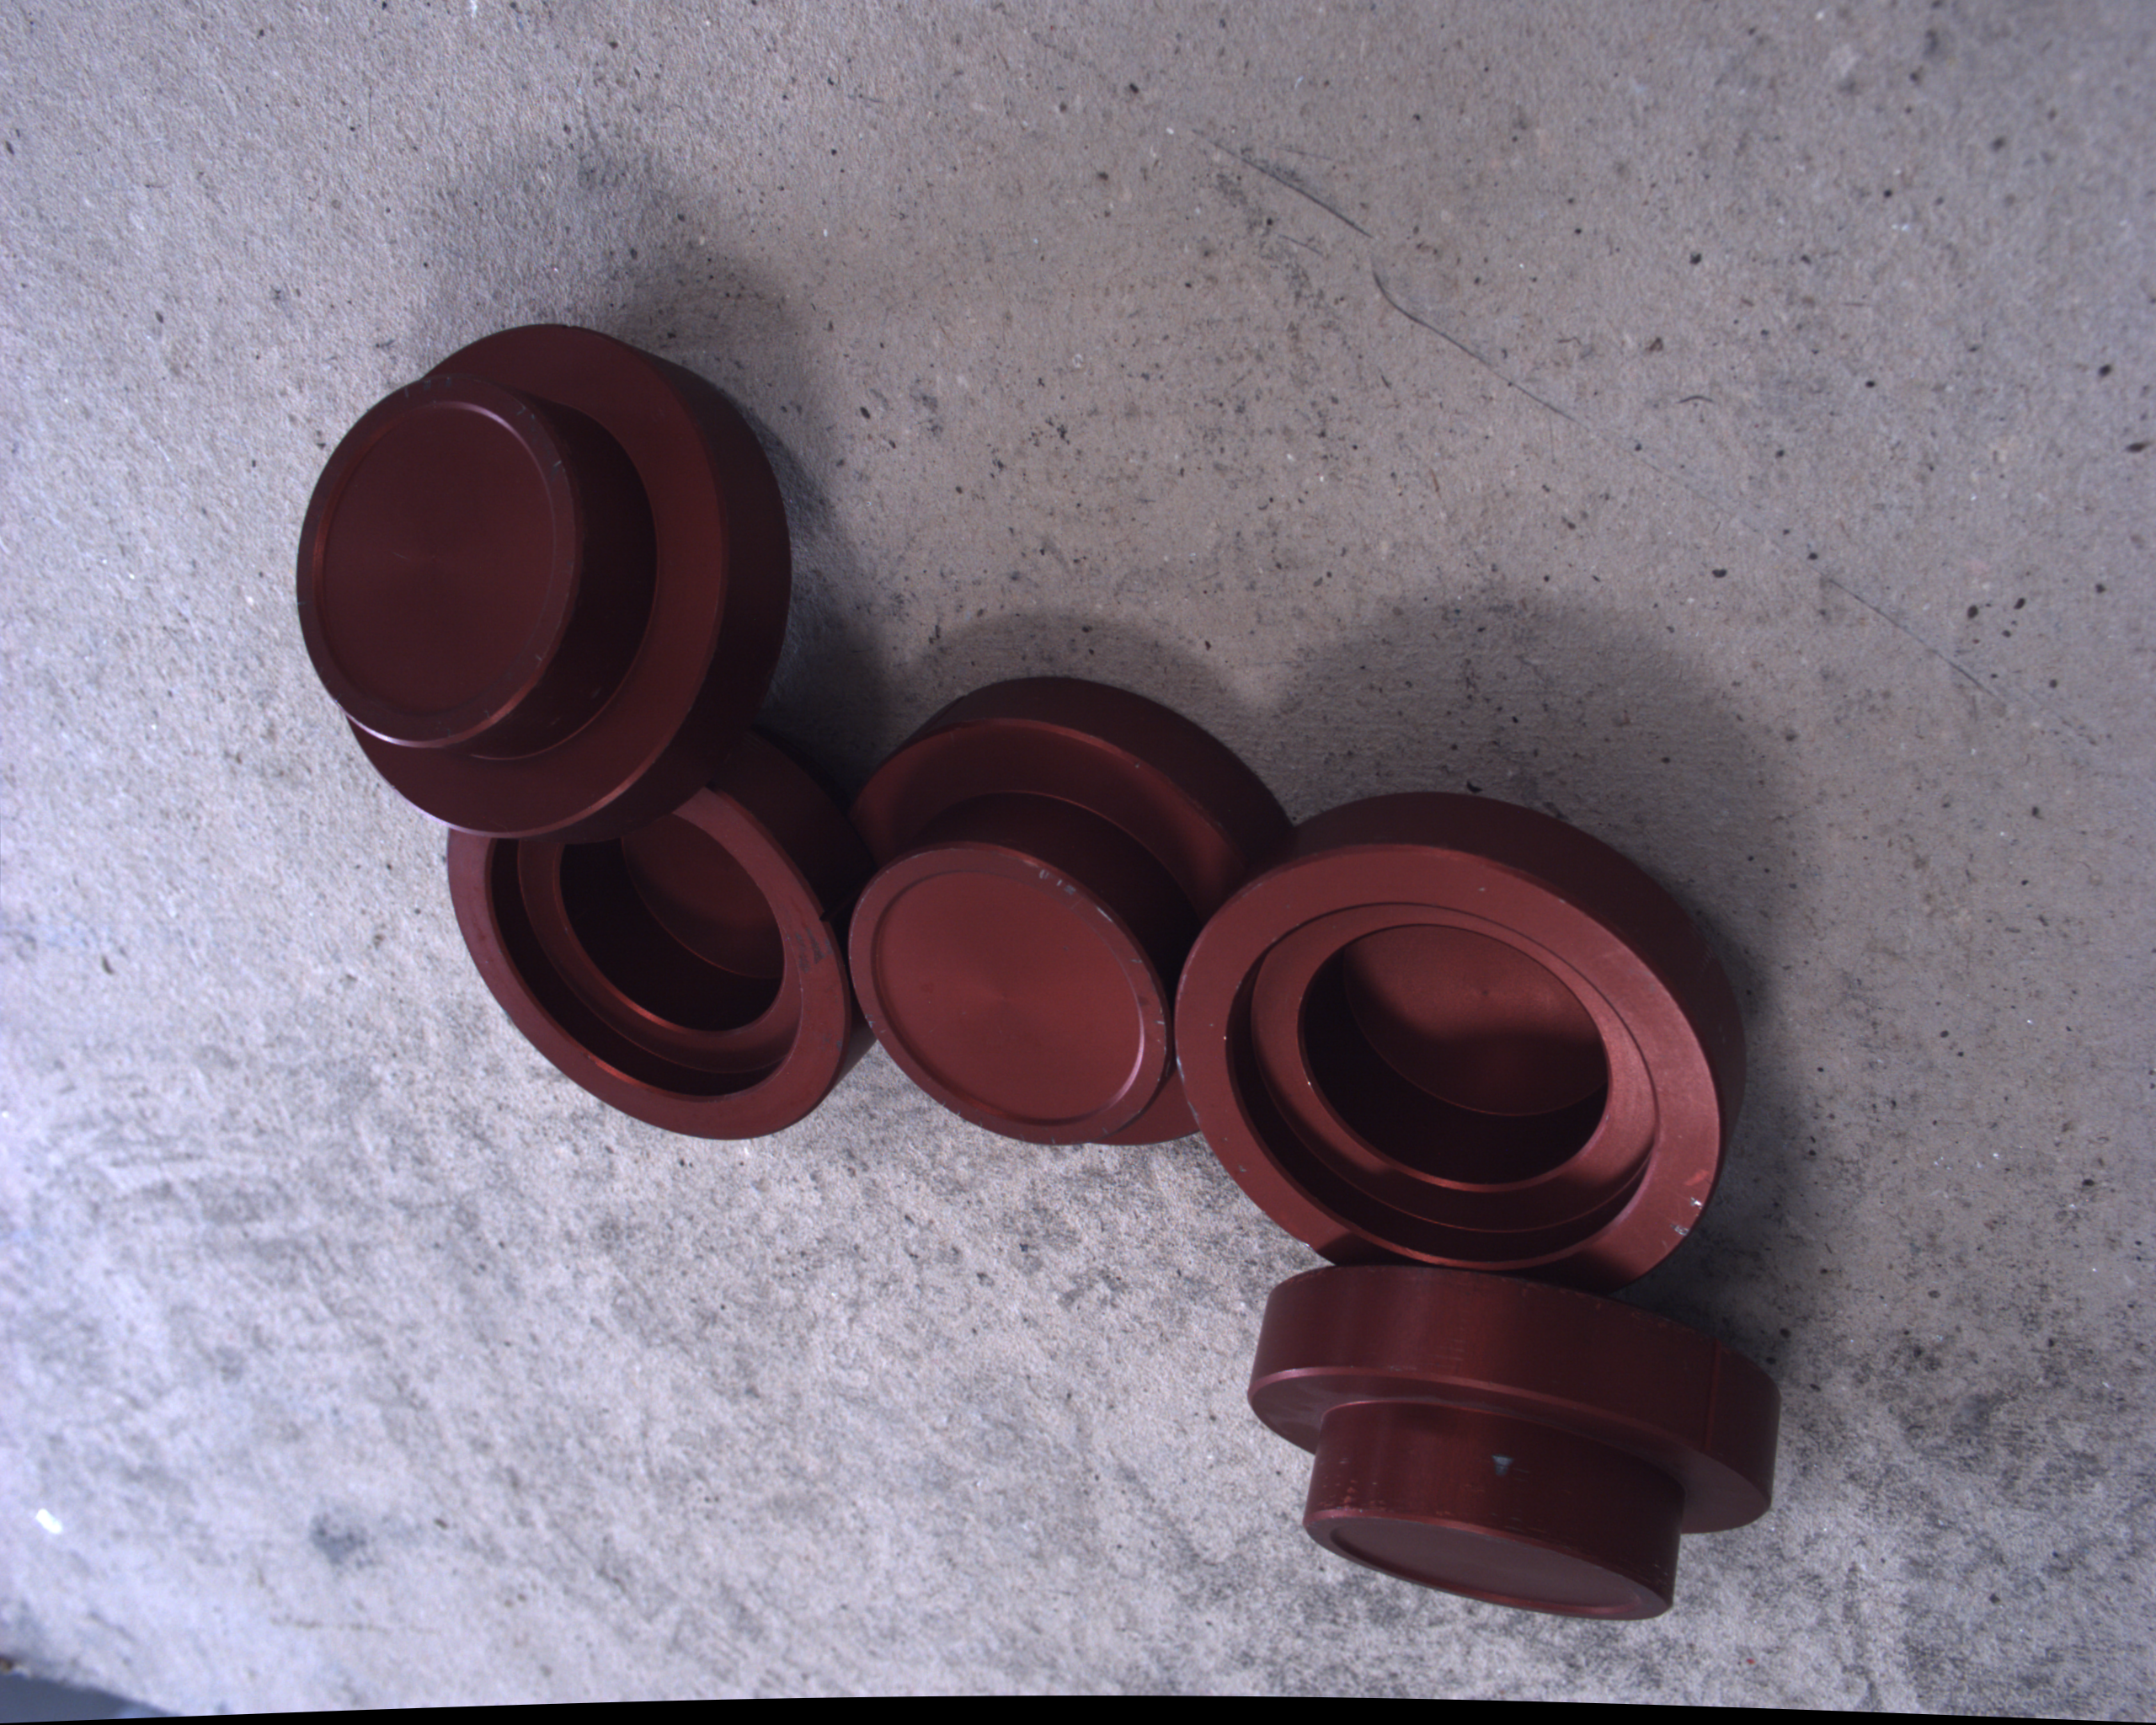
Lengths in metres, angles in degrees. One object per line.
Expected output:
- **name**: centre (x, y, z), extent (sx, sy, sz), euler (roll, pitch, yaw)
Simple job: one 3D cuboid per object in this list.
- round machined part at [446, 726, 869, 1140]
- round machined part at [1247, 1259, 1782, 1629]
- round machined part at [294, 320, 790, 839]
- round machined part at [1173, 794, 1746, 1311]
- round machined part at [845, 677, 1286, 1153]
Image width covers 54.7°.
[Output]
- **round machined part**: centre (-0.082, 0.008, 0.445), extent (0.098, 0.042, 0.097), euler (14, 125, 21)
- **round machined part**: centre (0.080, 0.114, 0.396), extent (0.098, 0.042, 0.098), euler (13, 152, 7)
- **round machined part**: centre (-0.107, -0.054, 0.391), extent (0.098, 0.042, 0.097), euler (-1, 87, 27)
- **round machined part**: centre (0.071, 0.030, 0.378), extent (0.098, 0.042, 0.097), euler (14, 125, 21)
- **round machined part**: centre (-0.006, 0.016, 0.409), extent (0.098, 0.042, 0.097), euler (13, 122, 23)
